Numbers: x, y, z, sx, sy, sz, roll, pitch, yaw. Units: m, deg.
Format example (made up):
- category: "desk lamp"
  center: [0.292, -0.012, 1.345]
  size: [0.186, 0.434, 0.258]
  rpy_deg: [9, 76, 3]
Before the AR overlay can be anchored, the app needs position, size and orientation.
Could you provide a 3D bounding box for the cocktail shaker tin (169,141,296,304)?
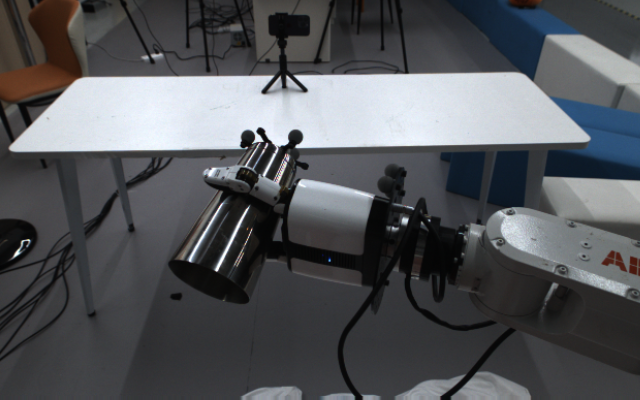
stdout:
- category: "cocktail shaker tin"
  center: [-0.087, 0.018, 0.542]
  size: [0.093, 0.093, 0.170]
  rpy_deg: [13, 58, 16]
